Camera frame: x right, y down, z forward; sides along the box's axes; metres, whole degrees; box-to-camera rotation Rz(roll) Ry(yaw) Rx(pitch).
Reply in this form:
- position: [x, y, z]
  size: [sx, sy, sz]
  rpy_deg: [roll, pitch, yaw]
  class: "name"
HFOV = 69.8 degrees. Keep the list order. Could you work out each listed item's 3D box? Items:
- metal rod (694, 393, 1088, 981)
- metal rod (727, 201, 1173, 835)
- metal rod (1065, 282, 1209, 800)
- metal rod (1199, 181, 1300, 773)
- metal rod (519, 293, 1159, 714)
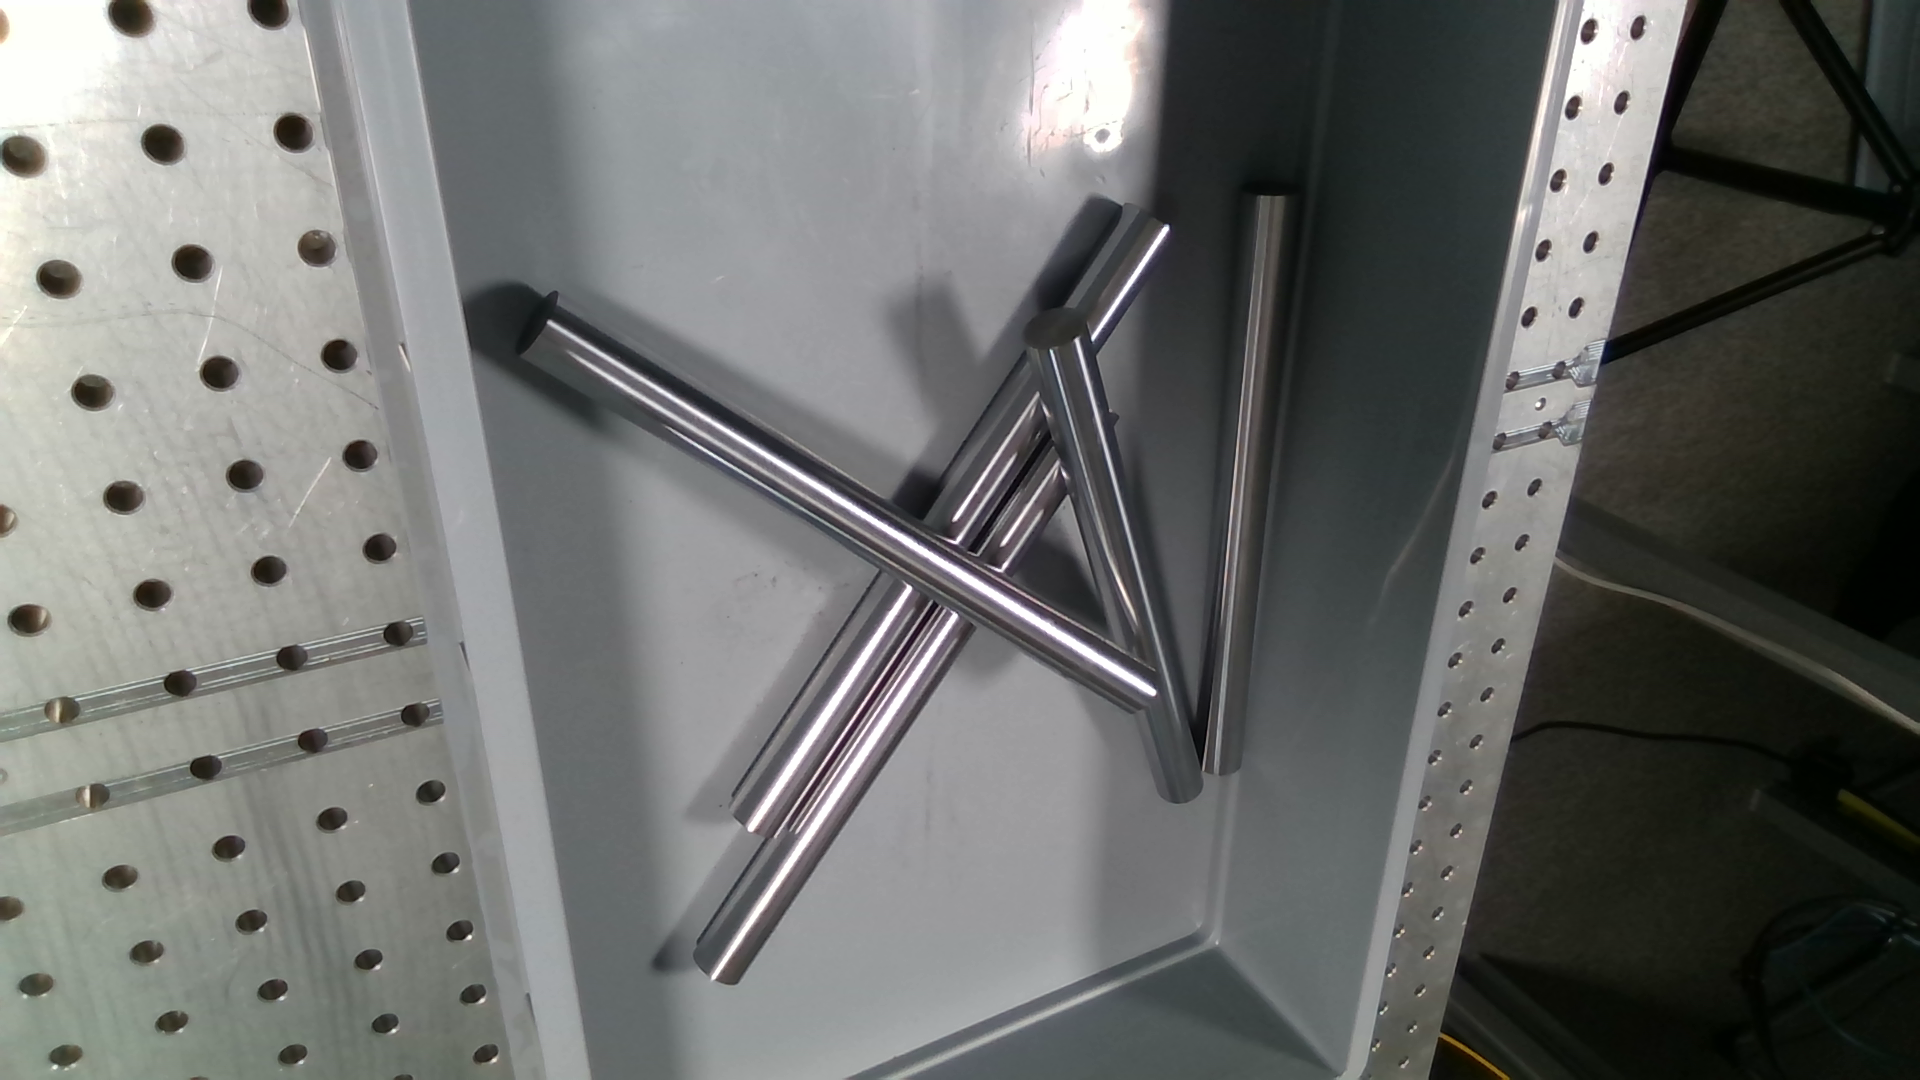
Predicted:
- position: [-0.026, 0.065, 0.600]
  size: [0.025, 0.025, 0.300]
  rpy_deg: [28, 98, -39]
  class: "metal rod"
- position: [-0.007, -0.006, 0.573]
  size: [0.025, 0.025, 0.300]
  rpy_deg: [28, 98, -39]
  class: "metal rod"
- position: [0.085, 0.018, 0.622]
  size: [0.025, 0.025, 0.301]
  rpy_deg: [-30, 133, -15]
  class: "metal rod"
- position: [0.133, -0.017, 0.652]
  size: [0.025, 0.025, 0.301]
  rpy_deg: [-15, 122, -24]
  class: "metal rod"
- position: [-0.030, -0.003, 0.534]
  size: [0.301, 0.025, 0.025]
  rpy_deg: [32, 96, -31]
  class: "metal rod"
